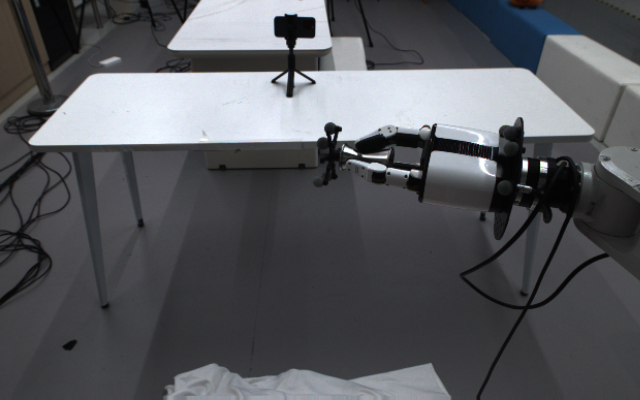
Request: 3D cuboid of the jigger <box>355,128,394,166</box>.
[{"bbox_3d":[0.070,-0.058,0.667,0.071,0.043,0.043,9,35,17],"label":"jigger"}]
